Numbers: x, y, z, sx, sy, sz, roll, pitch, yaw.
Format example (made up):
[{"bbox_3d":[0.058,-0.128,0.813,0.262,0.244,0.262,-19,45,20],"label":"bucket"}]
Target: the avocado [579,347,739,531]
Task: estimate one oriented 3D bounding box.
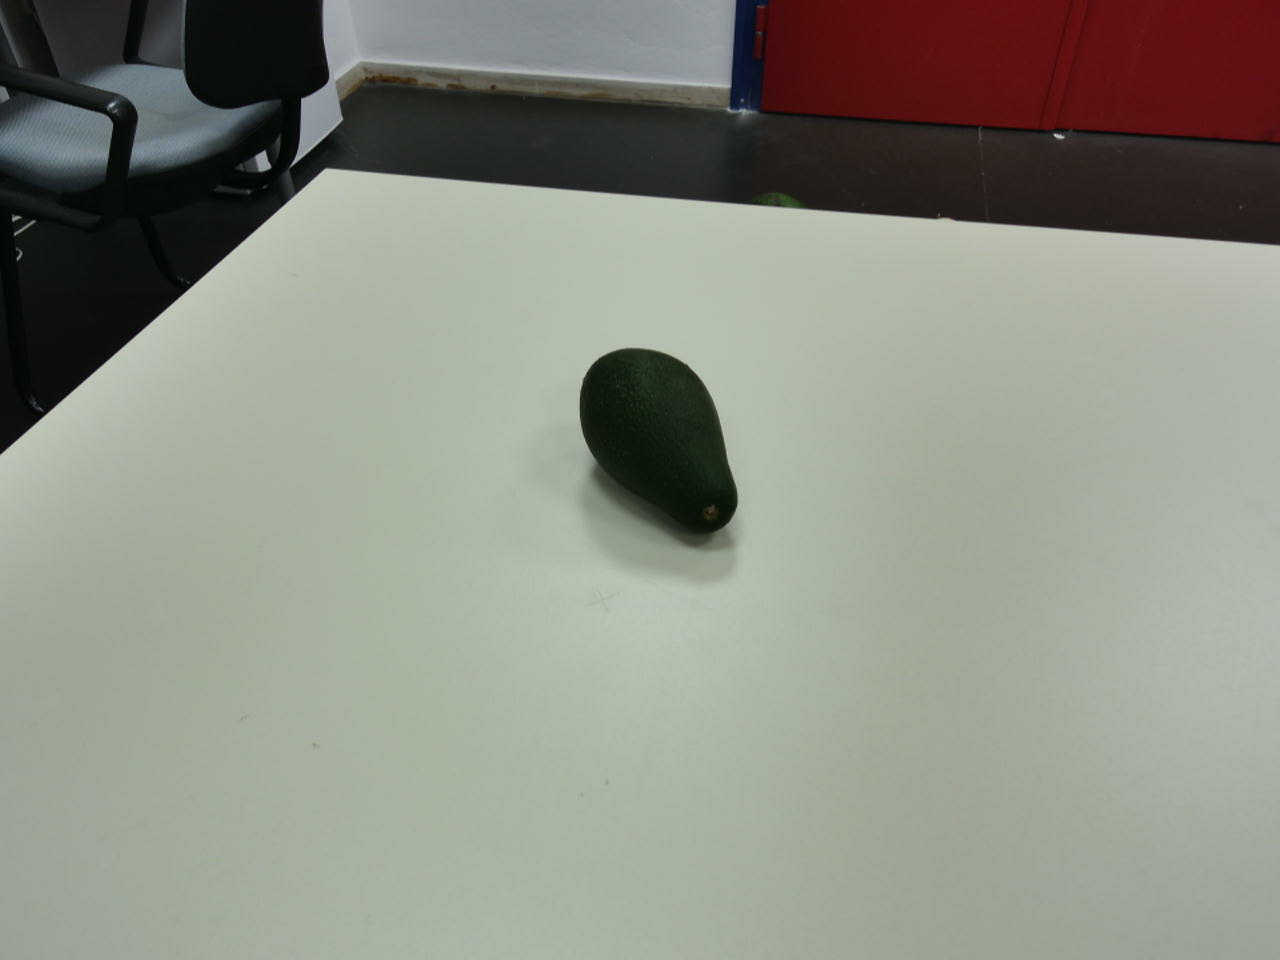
[{"bbox_3d":[0.007,-0.024,0.517,0.072,0.071,0.109,-7,39,-7],"label":"avocado"}]
